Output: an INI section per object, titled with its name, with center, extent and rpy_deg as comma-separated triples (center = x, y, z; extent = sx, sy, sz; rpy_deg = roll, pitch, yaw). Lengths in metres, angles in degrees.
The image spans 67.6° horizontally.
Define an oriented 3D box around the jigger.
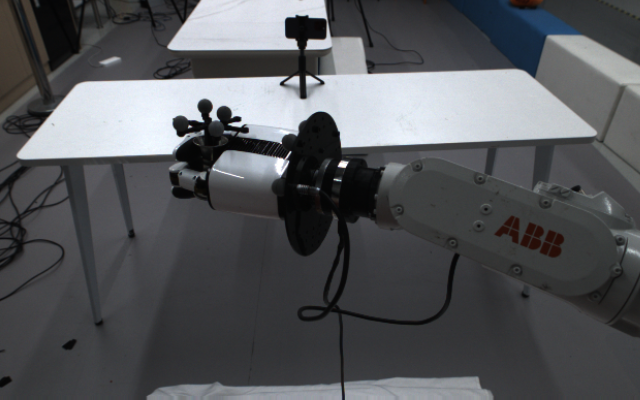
[jigger]
center = -0.127, -0.038, 0.574
extent = 0.043, 0.071, 0.043
rpy_deg = 5, 26, -3
